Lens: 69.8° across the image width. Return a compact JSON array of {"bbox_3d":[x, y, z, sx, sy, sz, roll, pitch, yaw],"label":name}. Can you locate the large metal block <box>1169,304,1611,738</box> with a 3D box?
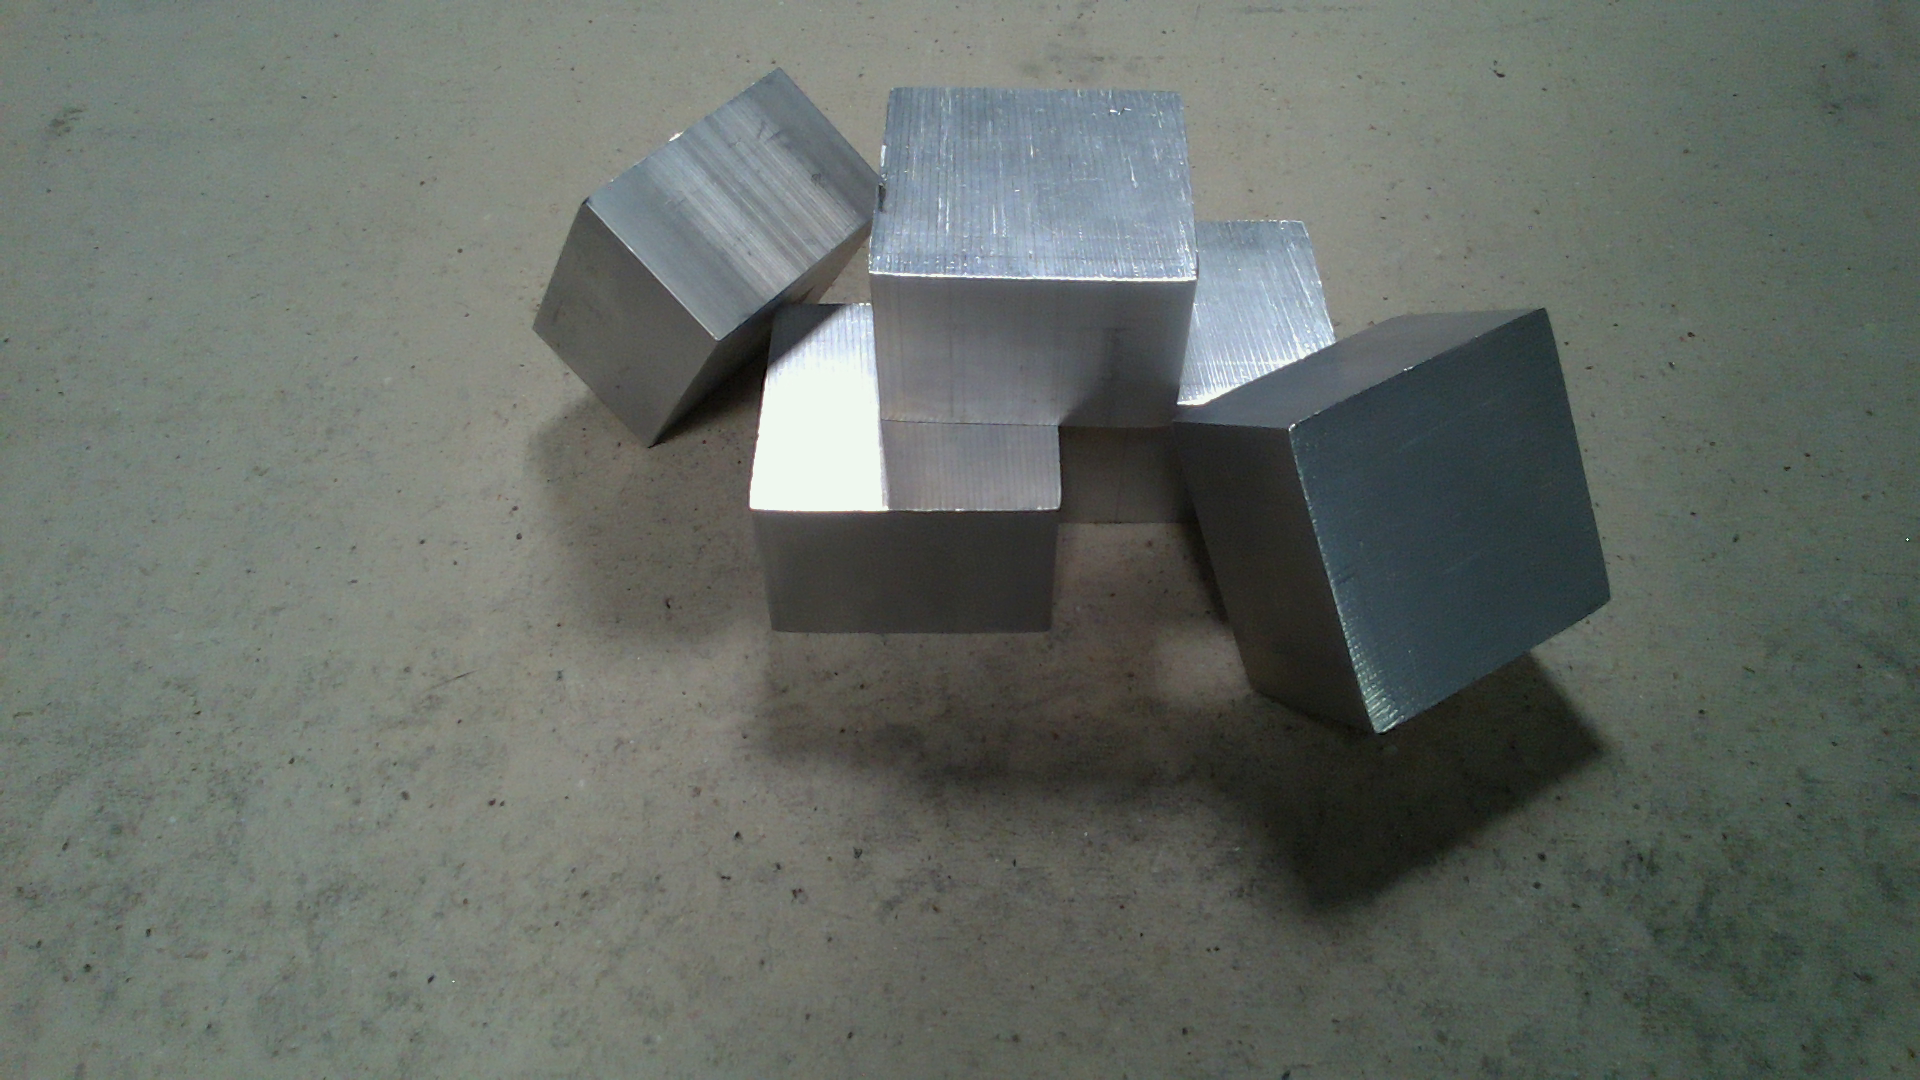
[{"bbox_3d":[0.111,-0.008,0.354,0.080,0.080,0.050,-25,16,-19],"label":"large metal block"}]

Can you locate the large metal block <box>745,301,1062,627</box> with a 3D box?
[{"bbox_3d":[-0.014,-0.022,0.392,0.080,0.050,0.080,0,50,0],"label":"large metal block"}]

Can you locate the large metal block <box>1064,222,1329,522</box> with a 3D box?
[{"bbox_3d":[0.066,-0.052,0.420,0.080,0.050,0.080,0,50,0],"label":"large metal block"}]

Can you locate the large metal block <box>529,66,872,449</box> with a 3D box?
[{"bbox_3d":[-0.076,-0.083,0.417,0.050,0.080,0.080,47,58,-6],"label":"large metal block"}]

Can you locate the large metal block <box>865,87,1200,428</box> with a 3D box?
[{"bbox_3d":[0.019,-0.077,0.372,0.080,0.050,0.080,2,50,1],"label":"large metal block"}]
